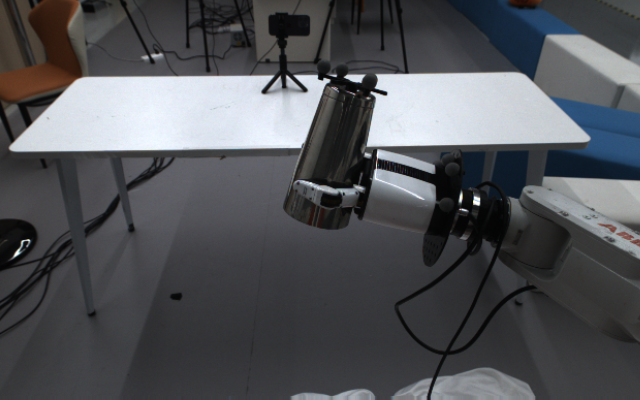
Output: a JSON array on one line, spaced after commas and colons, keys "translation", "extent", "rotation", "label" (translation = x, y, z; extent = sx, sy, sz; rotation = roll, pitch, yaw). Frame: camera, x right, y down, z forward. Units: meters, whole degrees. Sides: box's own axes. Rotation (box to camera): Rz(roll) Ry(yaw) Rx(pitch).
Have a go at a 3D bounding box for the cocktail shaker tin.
[{"translation": [0.017, -0.059, 0.627], "extent": [0.093, 0.170, 0.093], "rotation": [14, 20, -5], "label": "cocktail shaker tin"}]
